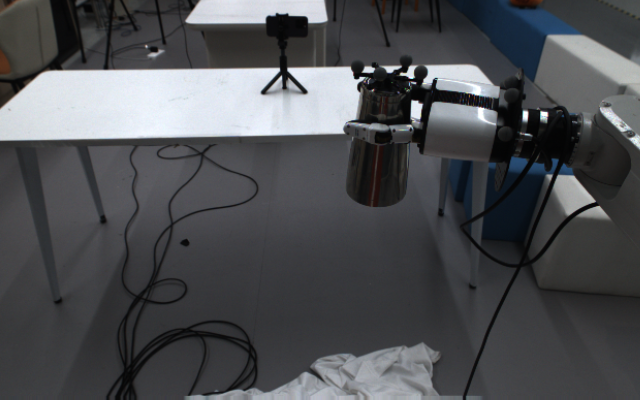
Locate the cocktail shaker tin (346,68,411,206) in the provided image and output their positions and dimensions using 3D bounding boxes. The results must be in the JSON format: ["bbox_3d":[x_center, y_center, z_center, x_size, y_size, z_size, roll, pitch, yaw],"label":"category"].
[{"bbox_3d":[0.089,-0.089,0.680,0.093,0.170,0.093,1,39,-1],"label":"cocktail shaker tin"}]
